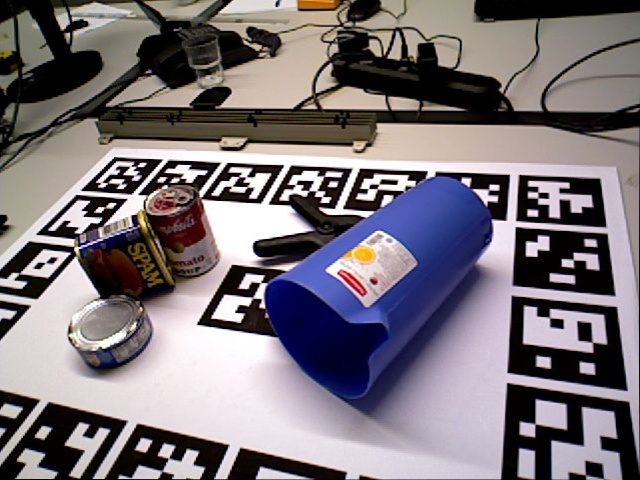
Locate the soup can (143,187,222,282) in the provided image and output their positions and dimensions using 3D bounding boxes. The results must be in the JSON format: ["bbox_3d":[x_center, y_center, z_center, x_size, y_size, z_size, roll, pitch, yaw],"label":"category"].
[{"bbox_3d":[-0.170,-0.005,0.684,0.068,0.104,0.067,-9,42,7],"label":"soup can"}]

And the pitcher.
[{"bbox_3d":[0.070,0.031,0.552,0.191,0.135,0.237,0,29,47],"label":"pitcher"}]

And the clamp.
[{"bbox_3d":[0.000,-0.002,0.703,0.165,0.037,0.119,8,40,17],"label":"clamp"}]

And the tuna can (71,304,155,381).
[{"bbox_3d":[-0.231,0.115,0.612,0.086,0.034,0.084,-8,43,6],"label":"tuna can"}]

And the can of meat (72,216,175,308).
[{"bbox_3d":[-0.233,0.033,0.649,0.083,0.103,0.057,-22,43,-7],"label":"can of meat"}]
